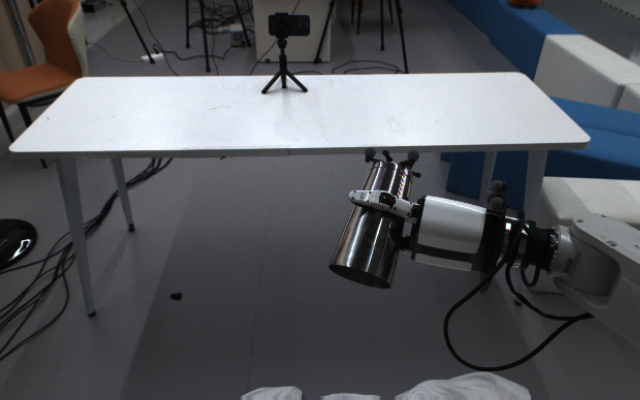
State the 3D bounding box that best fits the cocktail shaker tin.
[{"bbox_3d":[0.080,0.031,0.703,0.093,0.093,0.170,14,70,17],"label":"cocktail shaker tin"}]
